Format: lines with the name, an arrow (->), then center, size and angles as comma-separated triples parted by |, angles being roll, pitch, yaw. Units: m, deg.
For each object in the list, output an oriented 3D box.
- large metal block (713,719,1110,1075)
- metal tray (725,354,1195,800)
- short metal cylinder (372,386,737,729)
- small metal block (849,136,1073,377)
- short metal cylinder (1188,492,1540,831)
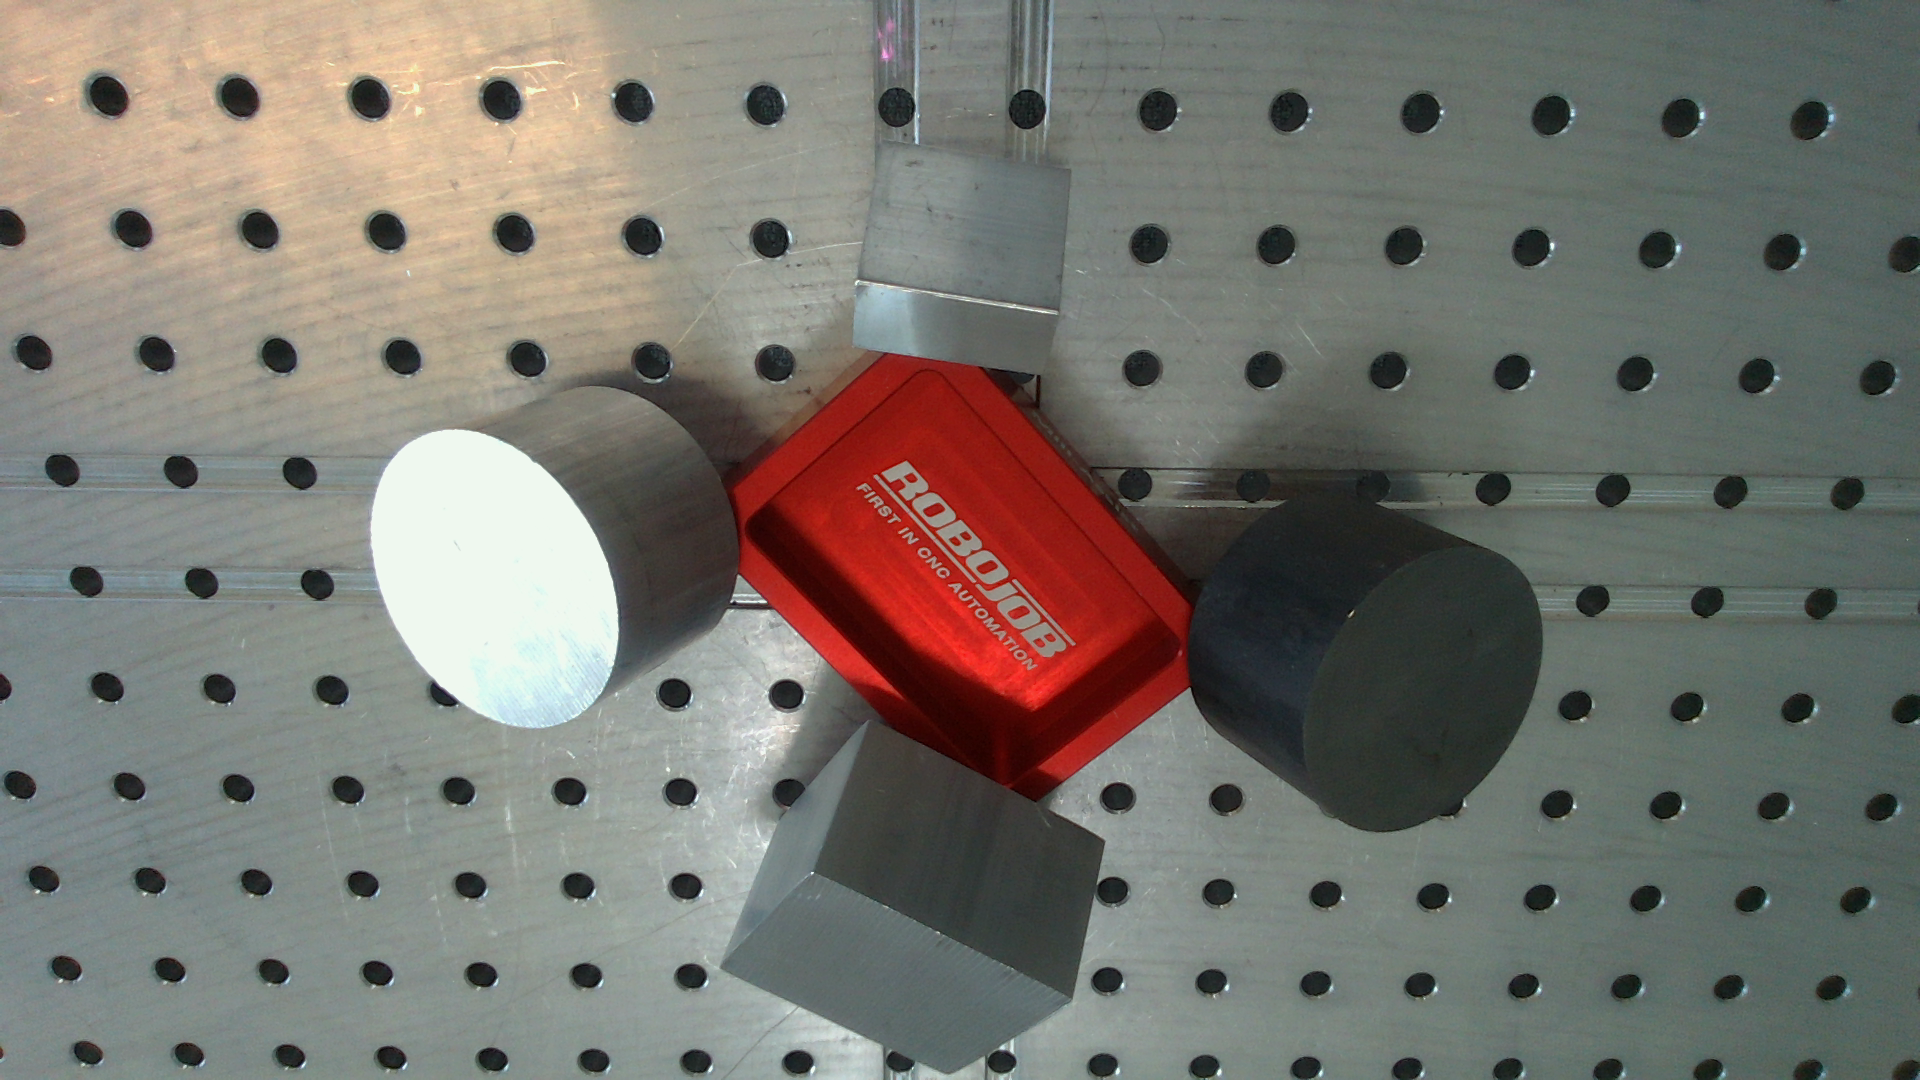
large metal block -> -0.015, 0.107, 0.404 | 0.080, 0.050, 0.080 | 29, 138, -11
metal tray -> 0.002, 0.009, 0.396 | 0.090, 0.030, 0.130 | -40, 106, 13
short metal cylinder -> -0.107, 0.003, 0.368 | 0.080, 0.050, 0.080 | 9, 113, 24
small metal block -> 0.001, -0.073, 0.353 | 0.050, 0.050, 0.025 | 9, 148, -3
short metal cylinder -> 0.111, 0.032, 0.379 | 0.080, 0.050, 0.080 | -10, 113, -25
